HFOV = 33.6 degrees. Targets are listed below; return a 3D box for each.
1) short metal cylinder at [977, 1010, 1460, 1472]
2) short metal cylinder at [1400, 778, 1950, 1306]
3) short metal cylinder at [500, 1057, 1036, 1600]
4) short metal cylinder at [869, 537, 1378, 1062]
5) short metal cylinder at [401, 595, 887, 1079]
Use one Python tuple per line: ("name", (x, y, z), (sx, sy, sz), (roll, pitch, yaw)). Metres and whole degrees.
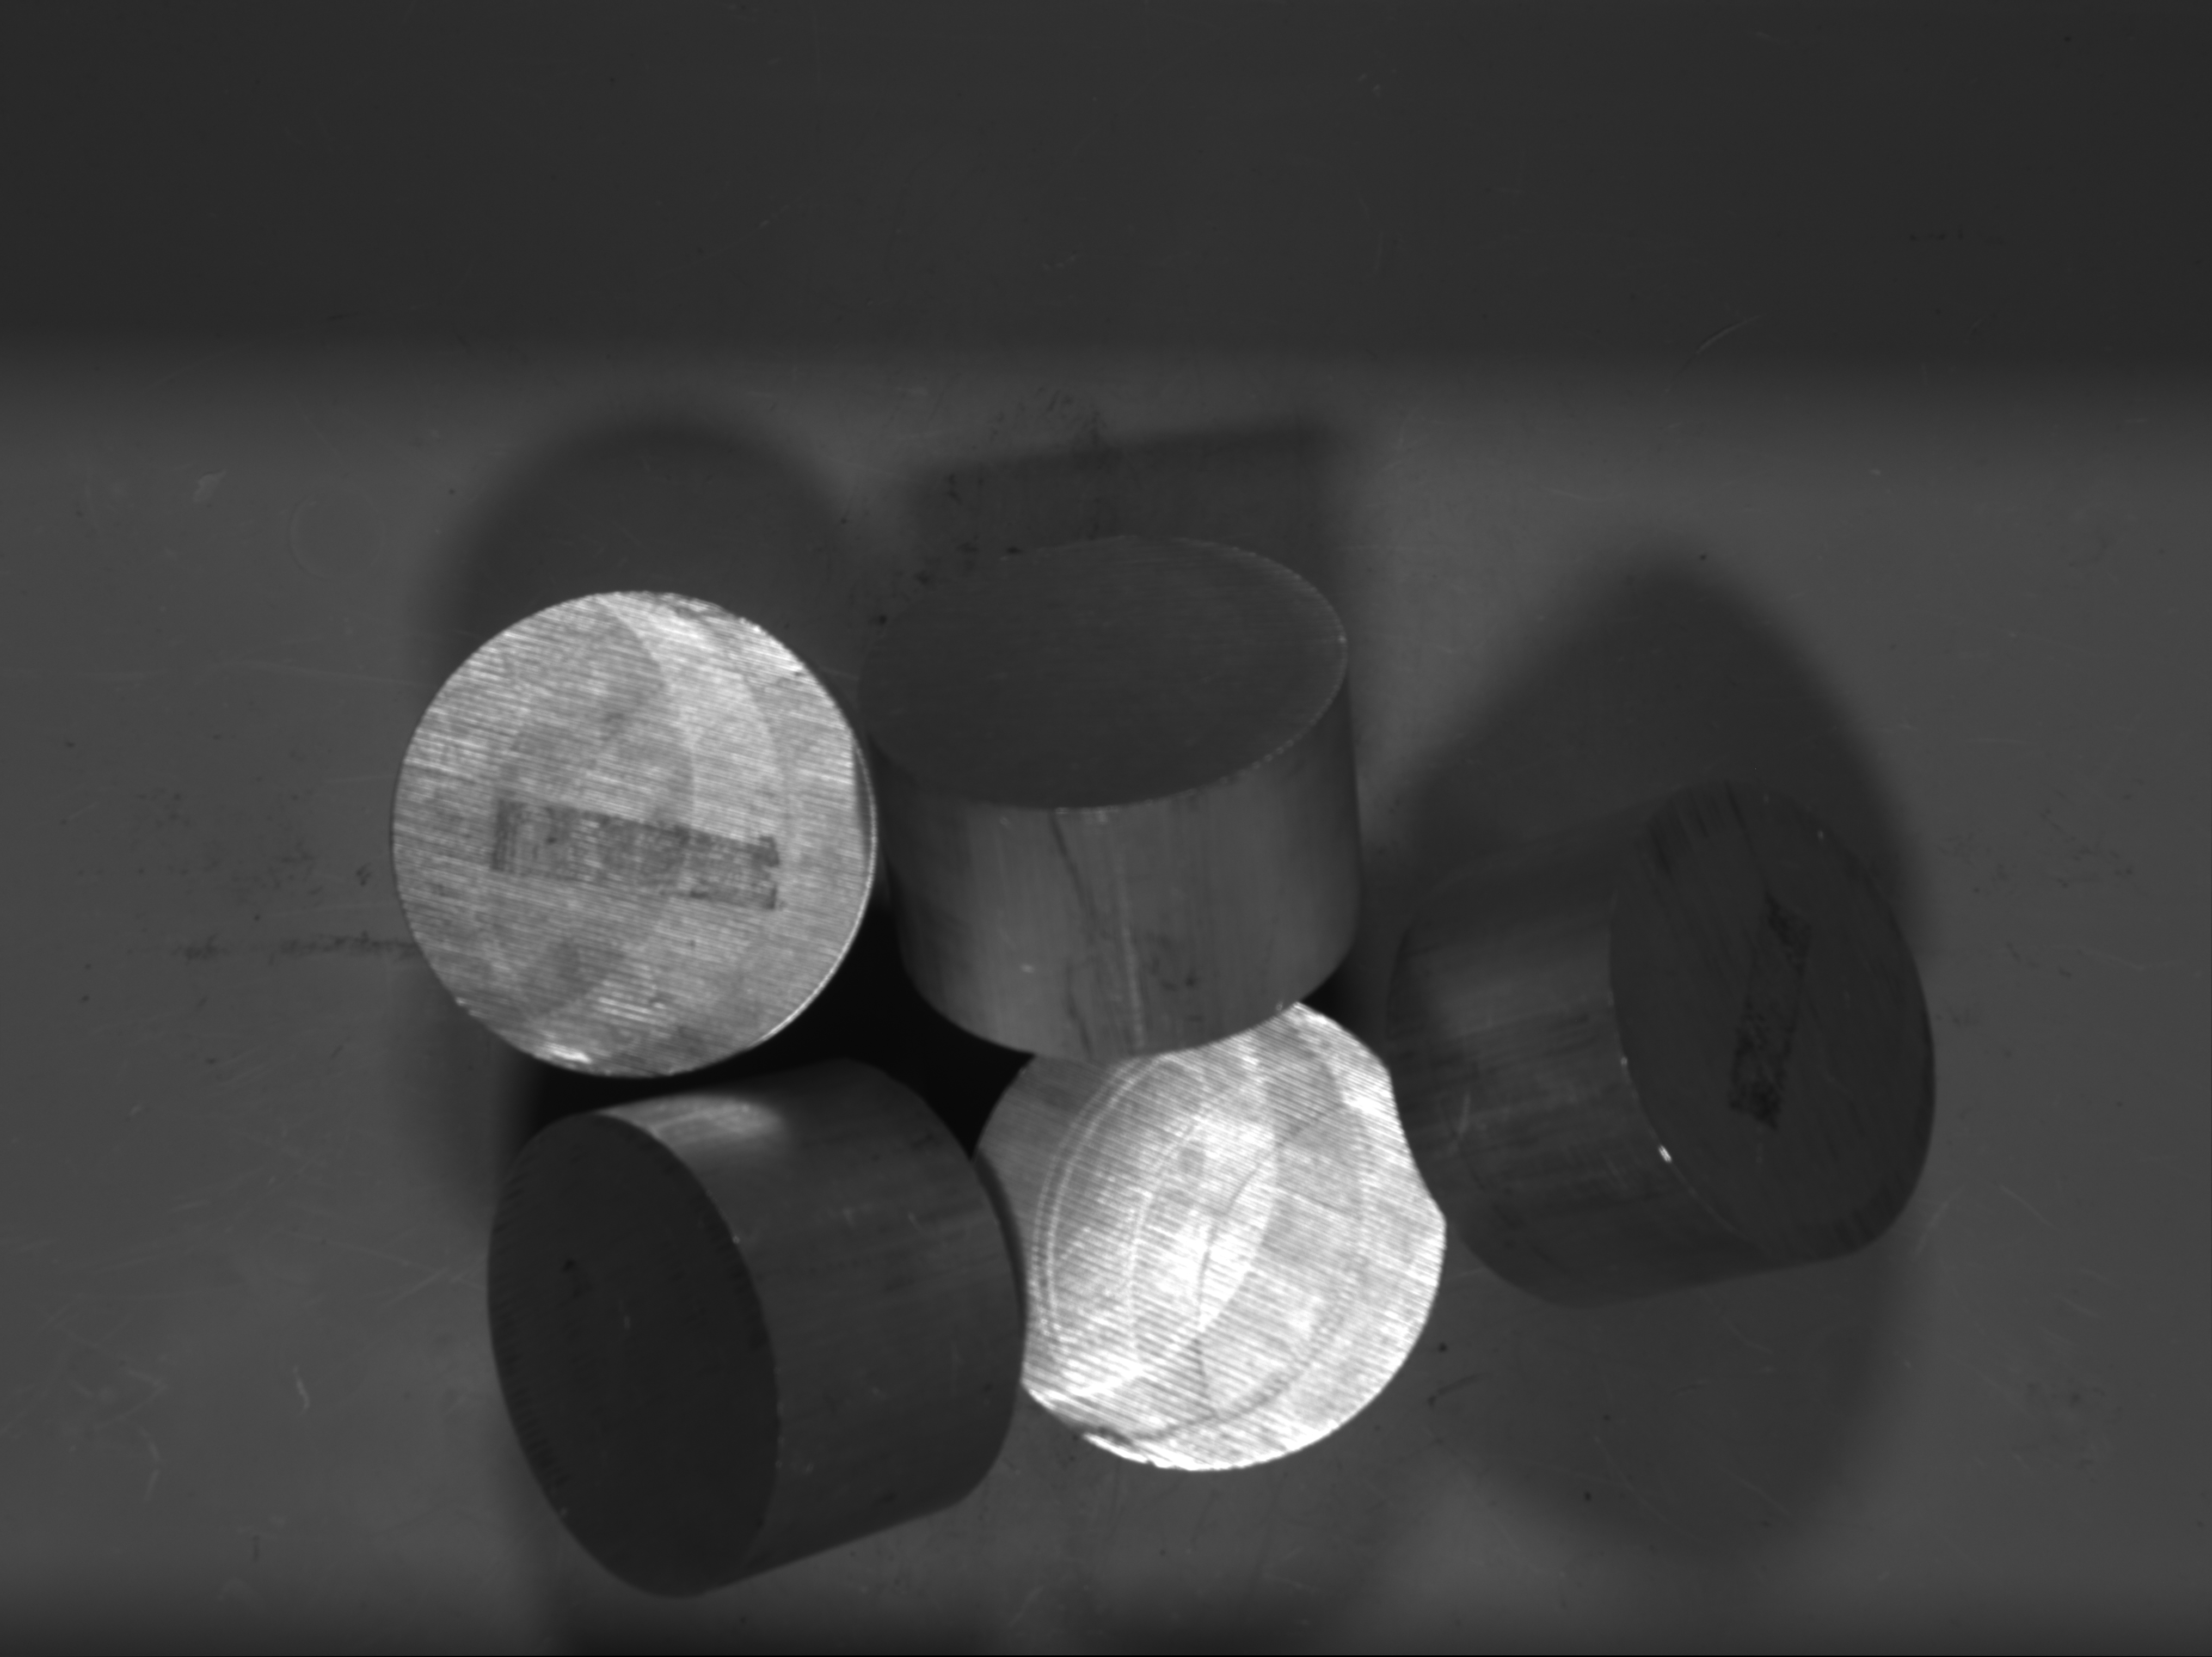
("short metal cylinder", (0.019, 0.067, 0.632), (0.080, 0.050, 0.080), (0, 90, 0))
("short metal cylinder", (0.095, 0.037, 0.612), (0.080, 0.050, 0.080), (15, 67, -37))
("short metal cylinder", (-0.057, 0.082, 0.609), (0.050, 0.080, 0.080), (-11, 90, -42))
("short metal cylinder", (0.004, -0.006, 0.609), (0.080, 0.080, 0.050), (-8, 125, 0))
("short metal cylinder", (-0.076, 0.001, 0.630), (0.080, 0.050, 0.080), (0, 90, 0))
